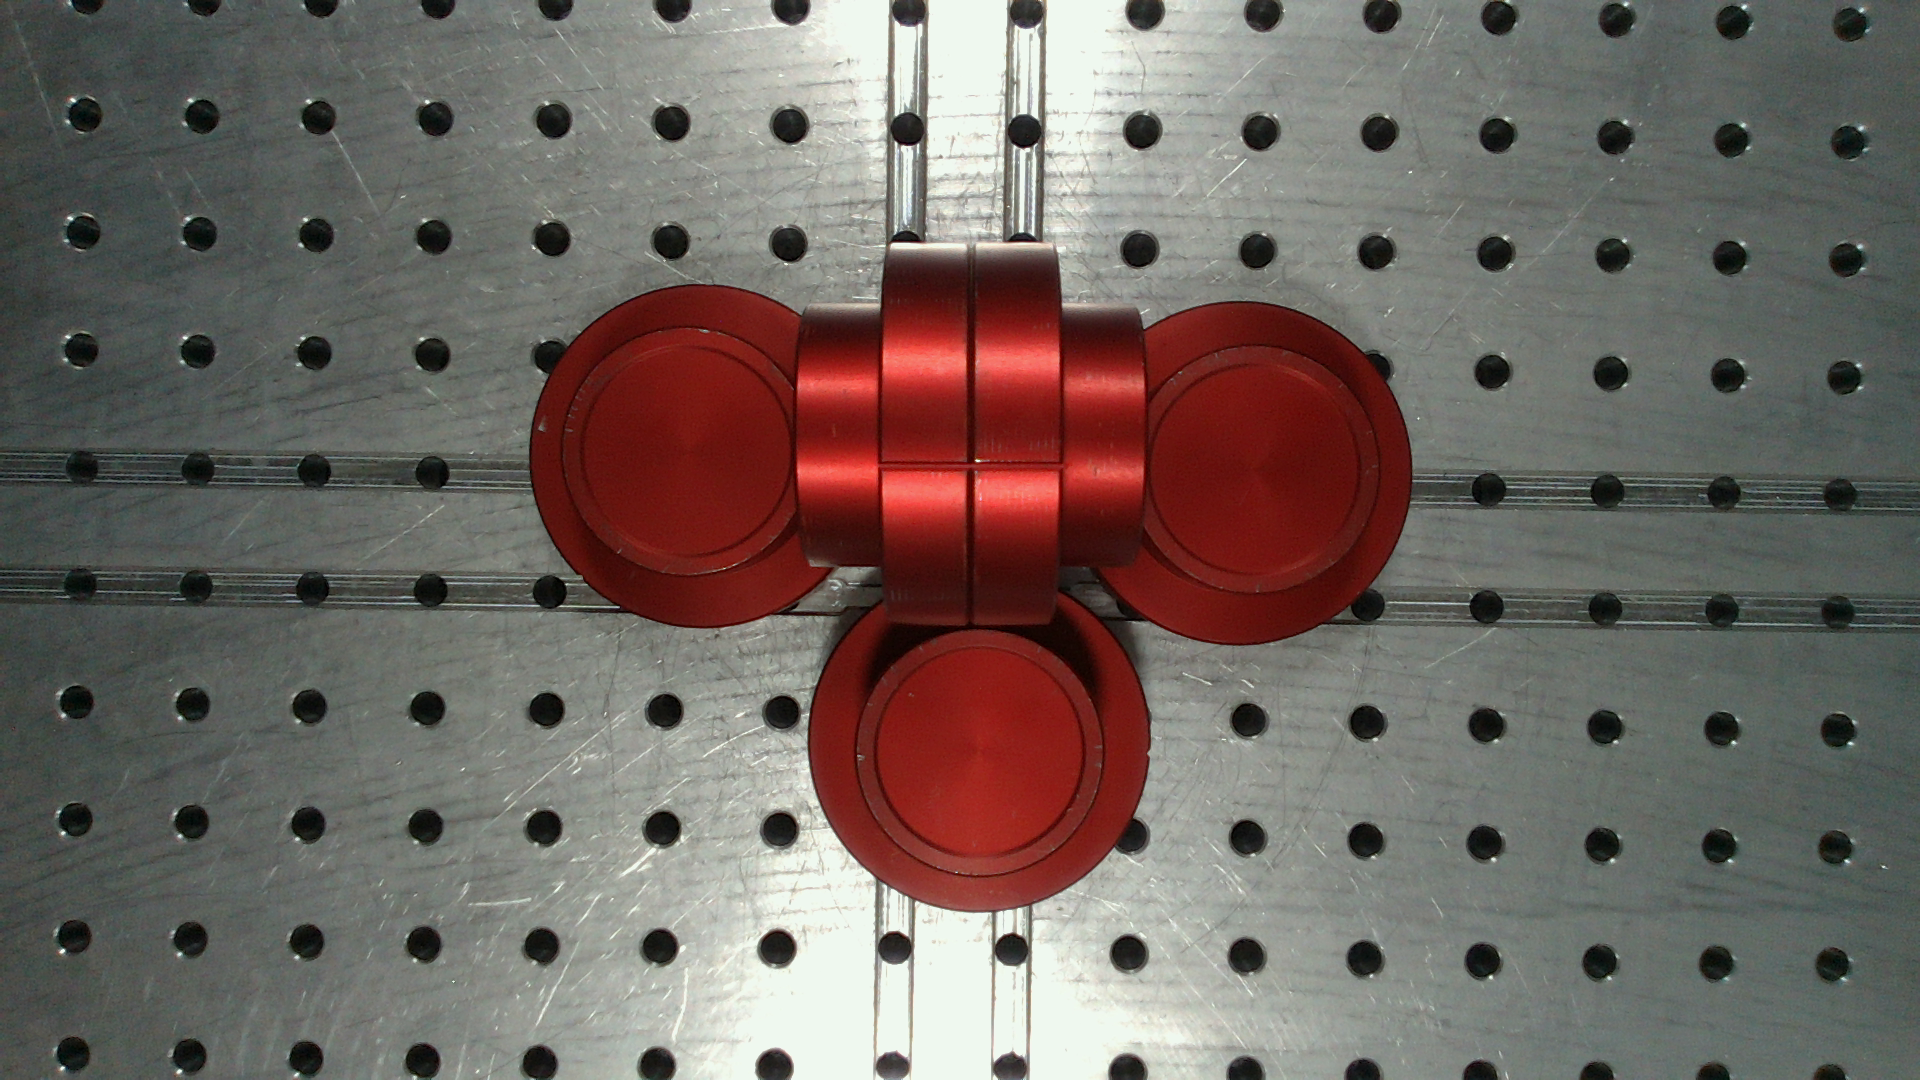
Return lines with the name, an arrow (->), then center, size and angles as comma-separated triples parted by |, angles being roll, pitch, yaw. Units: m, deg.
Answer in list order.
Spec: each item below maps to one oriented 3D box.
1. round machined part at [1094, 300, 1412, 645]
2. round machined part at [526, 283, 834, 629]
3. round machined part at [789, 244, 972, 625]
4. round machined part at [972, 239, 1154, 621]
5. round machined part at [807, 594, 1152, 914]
round machined part -> 0.079, -0.019, 0.389 | 0.098, 0.042, 0.098 | 0, 90, 0
round machined part -> -0.074, -0.024, 0.389 | 0.098, 0.042, 0.098 | 0, 90, 0
round machined part -> -0.019, -0.027, 0.355 | 0.042, 0.098, 0.098 | 1, 90, 0
round machined part -> 0.025, -0.028, 0.356 | 0.042, 0.098, 0.098 | -1, 90, 0
round machined part -> 0.006, 0.057, 0.389 | 0.098, 0.042, 0.098 | 0, 90, 0
